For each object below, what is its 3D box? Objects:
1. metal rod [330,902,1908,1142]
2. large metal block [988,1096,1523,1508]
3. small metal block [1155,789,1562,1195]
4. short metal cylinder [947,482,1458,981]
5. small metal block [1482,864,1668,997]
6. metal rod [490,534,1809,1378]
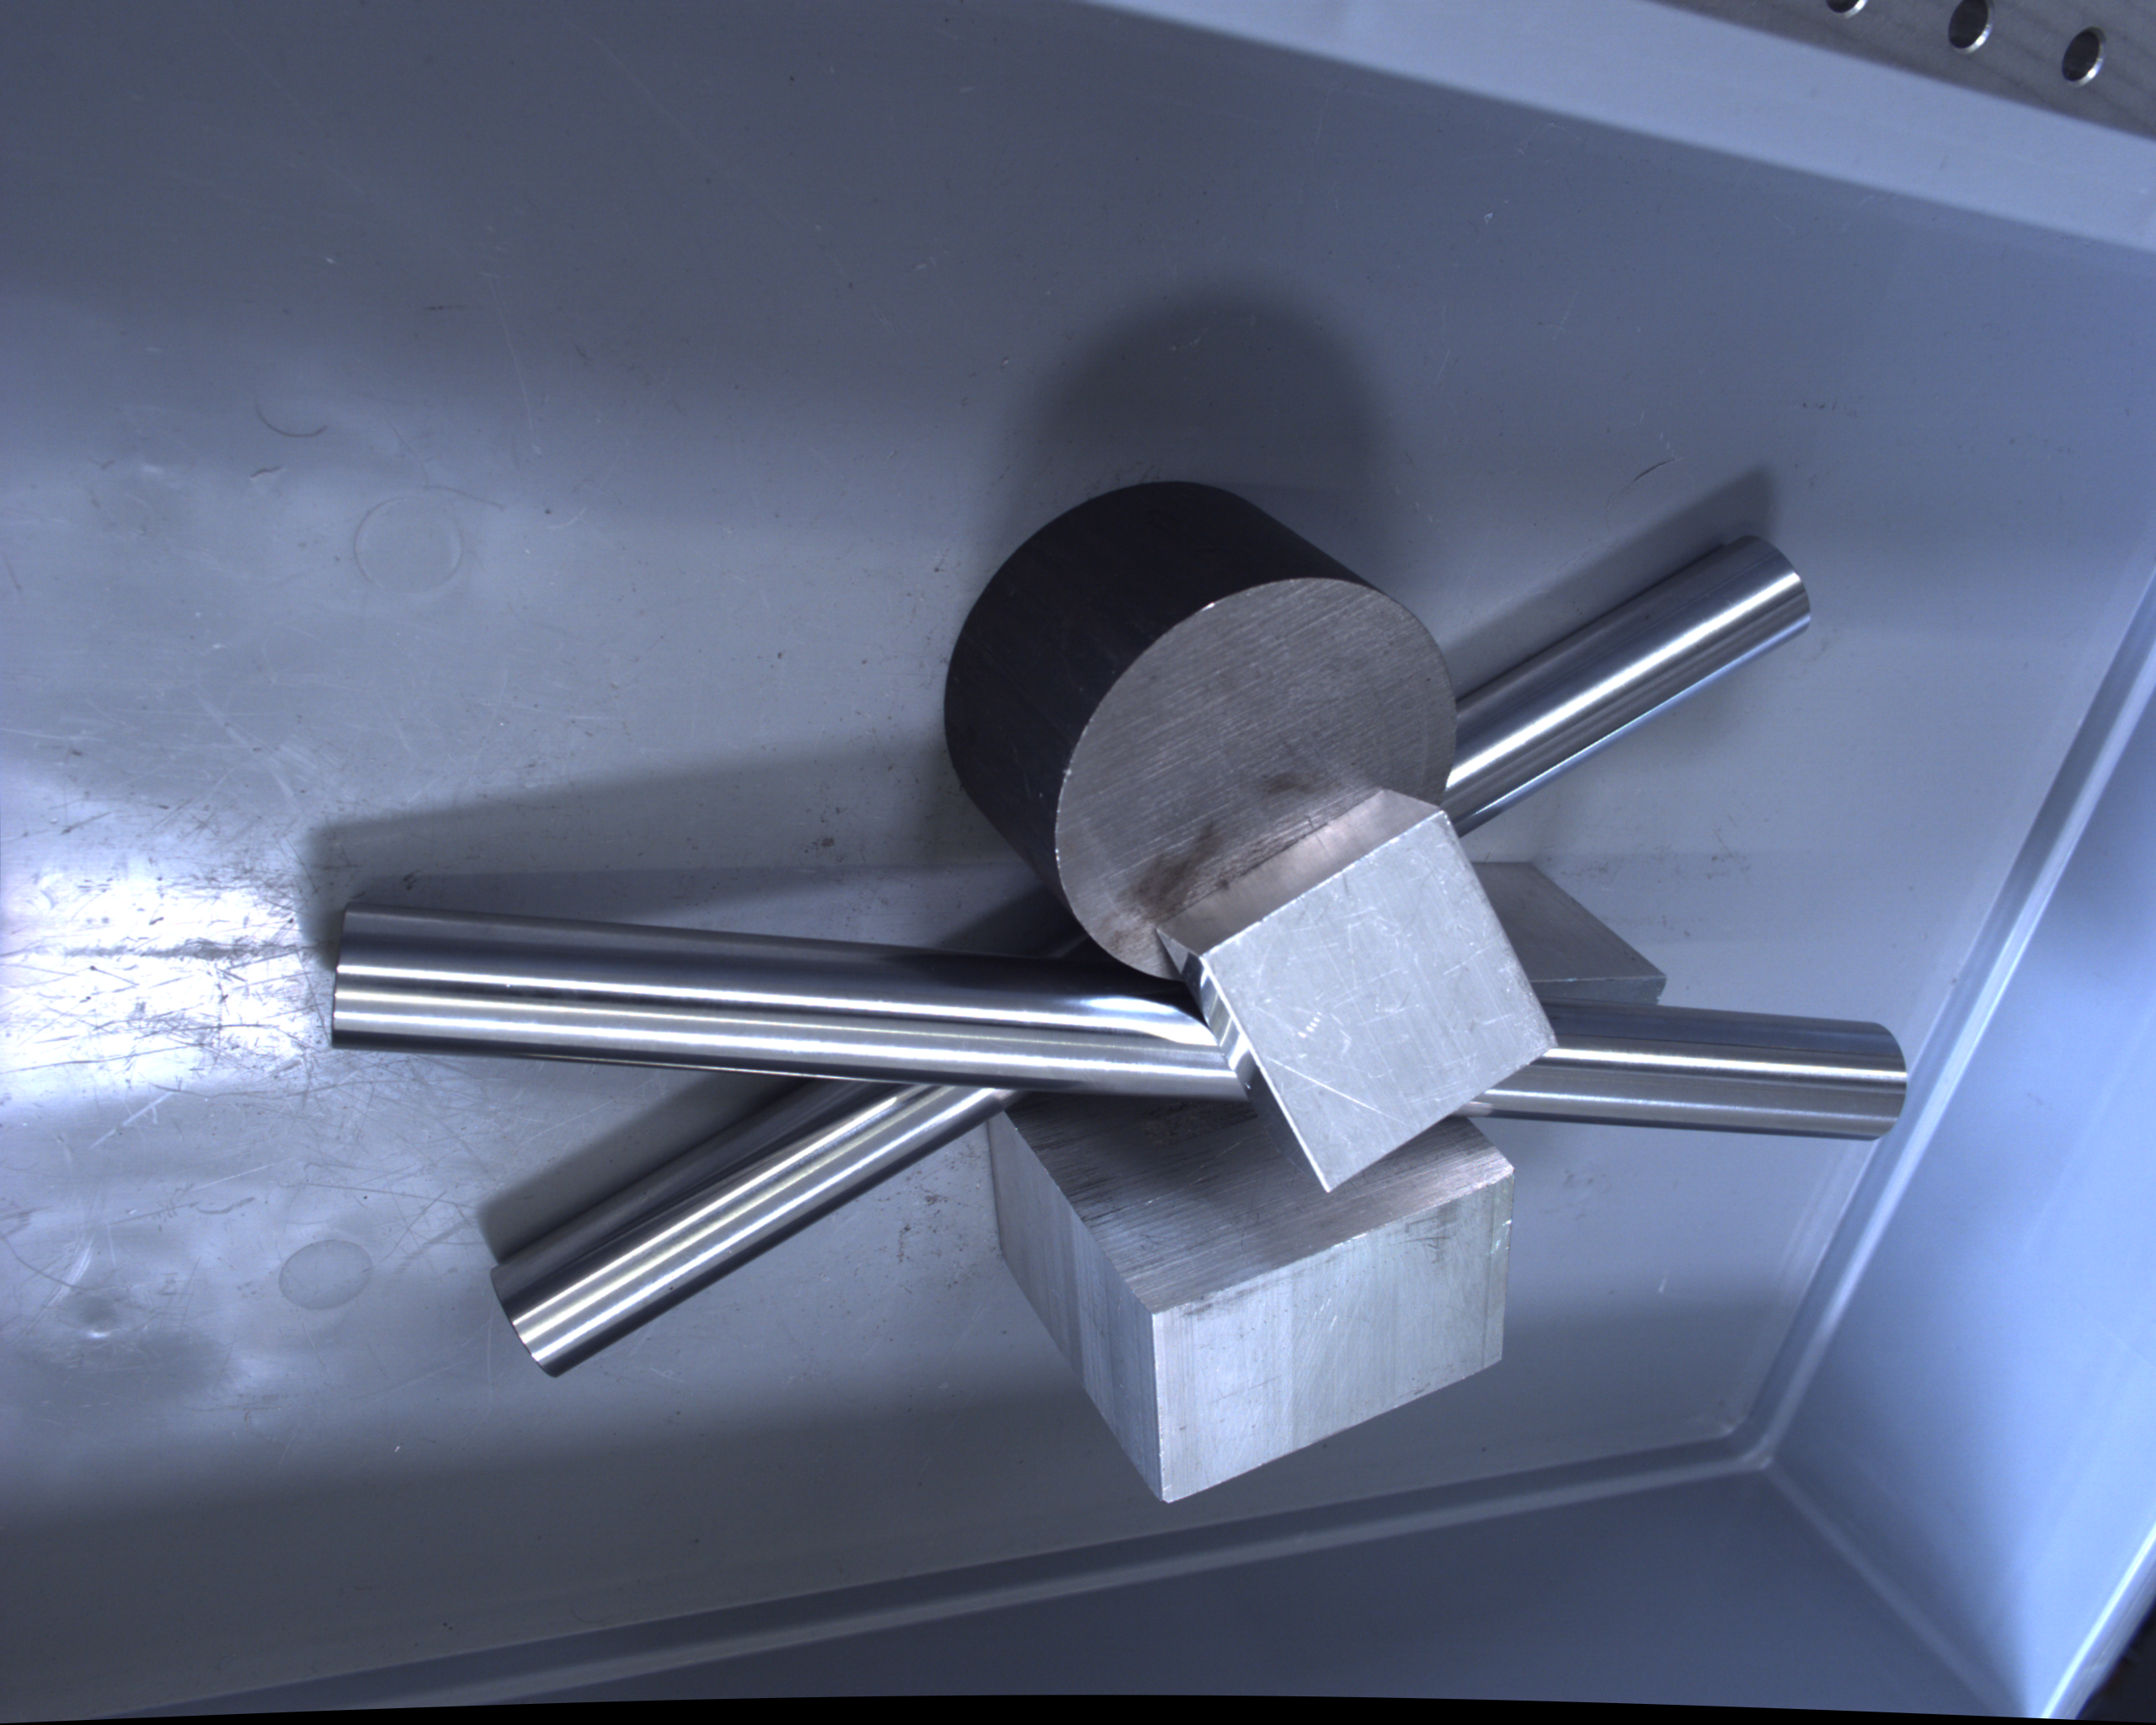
[{"bbox_3d":[0.020,0.032,0.392,0.302,0.025,0.025,5,117,-16],"label":"metal rod"},{"bbox_3d":[0.034,0.074,0.435,0.081,0.080,0.050,-17,125,-19],"label":"large metal block"},{"bbox_3d":[0.050,0.022,0.372,0.050,0.025,0.050,-31,106,-8],"label":"small metal block"},{"bbox_3d":[0.022,-0.024,0.388,0.081,0.050,0.079,-14,123,-21],"label":"short metal cylinder"},{"bbox_3d":[0.089,0.023,0.454,0.050,0.050,0.025,0,118,-28],"label":"small metal block"},{"bbox_3d":[0.021,0.014,0.428,0.301,0.025,0.025,-30,129,-9],"label":"metal rod"}]
